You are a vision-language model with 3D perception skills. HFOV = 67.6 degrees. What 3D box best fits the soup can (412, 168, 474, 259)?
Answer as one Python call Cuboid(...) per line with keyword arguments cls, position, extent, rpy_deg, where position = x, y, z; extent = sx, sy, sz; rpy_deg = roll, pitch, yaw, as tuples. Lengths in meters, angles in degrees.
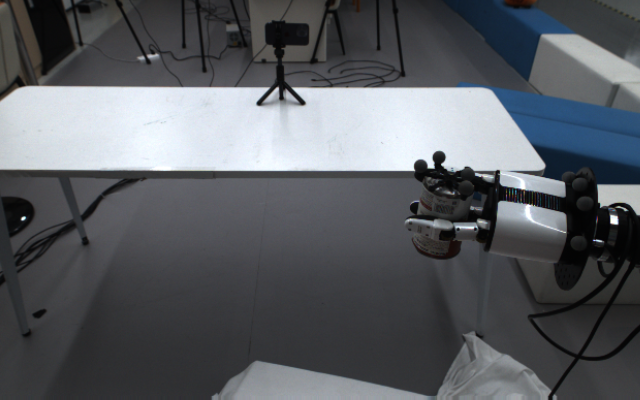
Cuboid(cls="soup can", position=(0.167, 0.020, 0.654), extent=(0.067, 0.101, 0.067), rpy_deg=(2, 32, -1))
